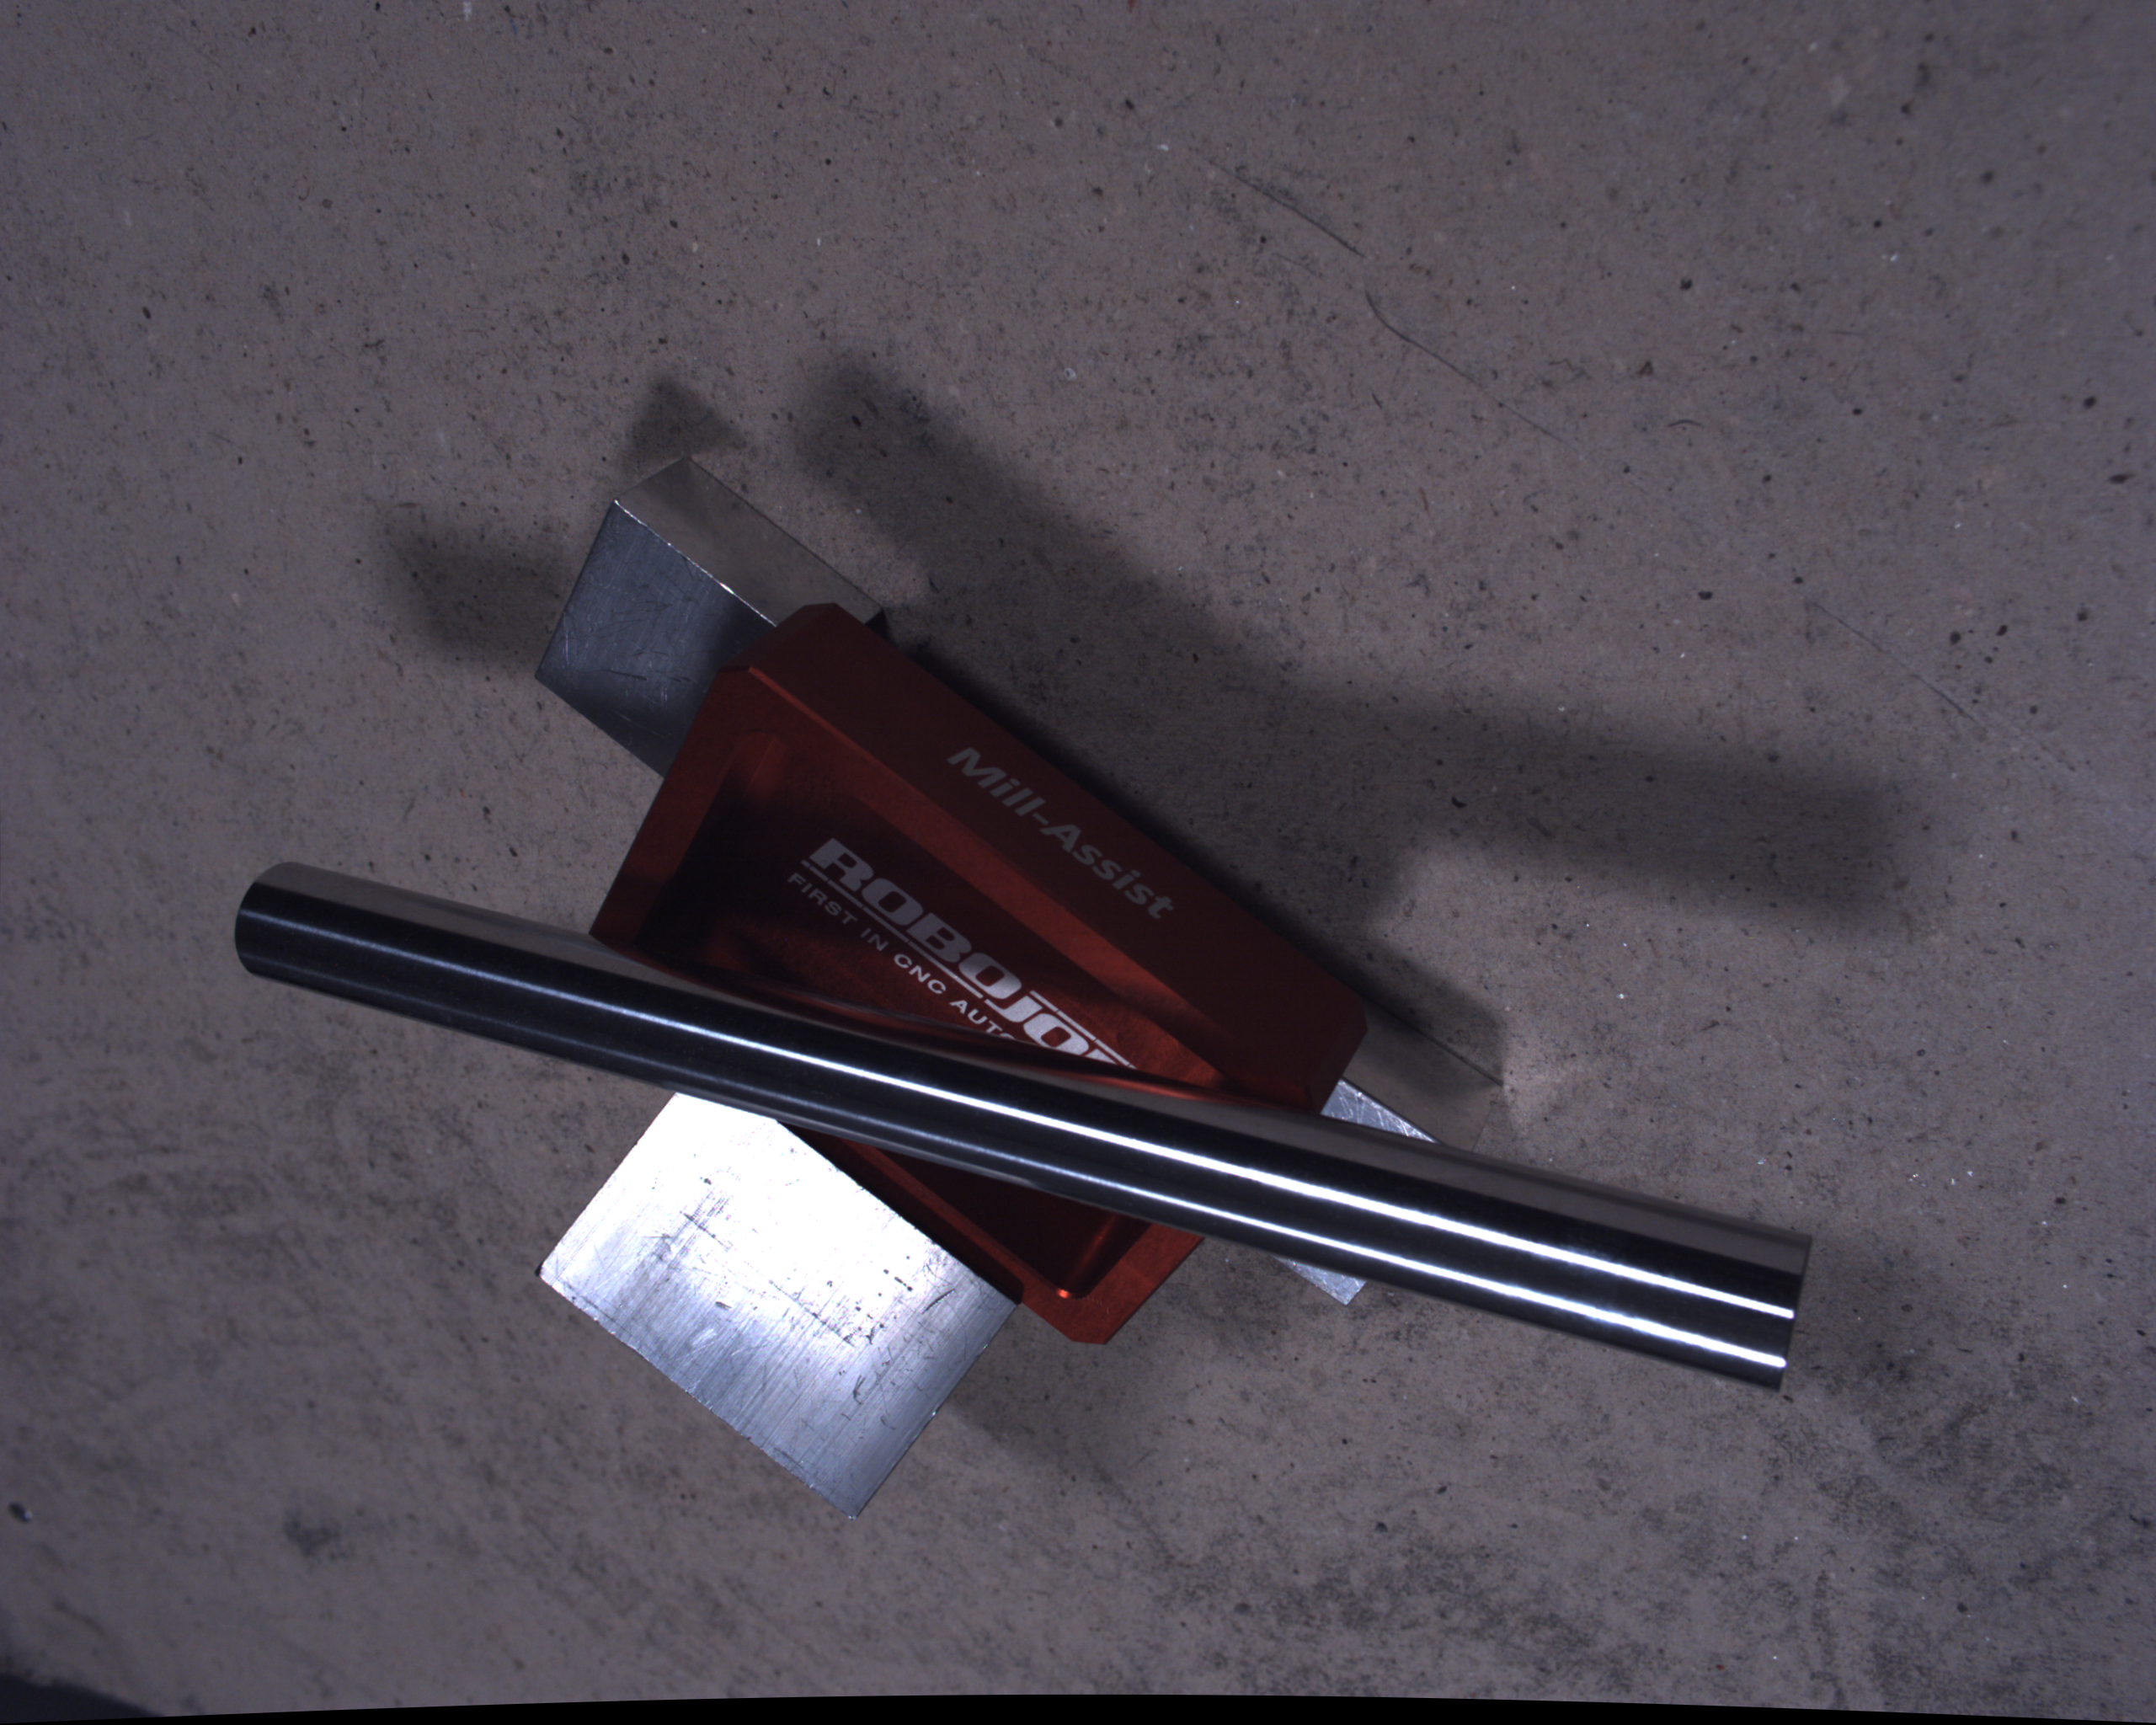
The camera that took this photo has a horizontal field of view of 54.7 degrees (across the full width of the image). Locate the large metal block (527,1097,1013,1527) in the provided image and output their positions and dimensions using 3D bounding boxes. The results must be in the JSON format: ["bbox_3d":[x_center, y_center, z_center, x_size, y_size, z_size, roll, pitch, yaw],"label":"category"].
[{"bbox_3d":[-0.059,0.087,0.445,0.080,0.080,0.050,37,87,3],"label":"large metal block"}]

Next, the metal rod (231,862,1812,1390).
[{"bbox_3d":[-0.027,0.040,0.375,0.301,0.025,0.025,12,123,21],"label":"metal rod"}]

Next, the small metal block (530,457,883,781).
[{"bbox_3d":[-0.075,-0.044,0.419,0.050,0.025,0.050,38,129,2],"label":"small metal block"}]

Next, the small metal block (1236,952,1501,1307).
[{"bbox_3d":[0.047,0.053,0.415,0.050,0.025,0.050,33,129,6],"label":"small metal block"}]

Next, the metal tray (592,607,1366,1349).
[{"bbox_3d":[-0.023,0.024,0.397,0.130,0.030,0.089,37,129,2],"label":"metal tray"}]
